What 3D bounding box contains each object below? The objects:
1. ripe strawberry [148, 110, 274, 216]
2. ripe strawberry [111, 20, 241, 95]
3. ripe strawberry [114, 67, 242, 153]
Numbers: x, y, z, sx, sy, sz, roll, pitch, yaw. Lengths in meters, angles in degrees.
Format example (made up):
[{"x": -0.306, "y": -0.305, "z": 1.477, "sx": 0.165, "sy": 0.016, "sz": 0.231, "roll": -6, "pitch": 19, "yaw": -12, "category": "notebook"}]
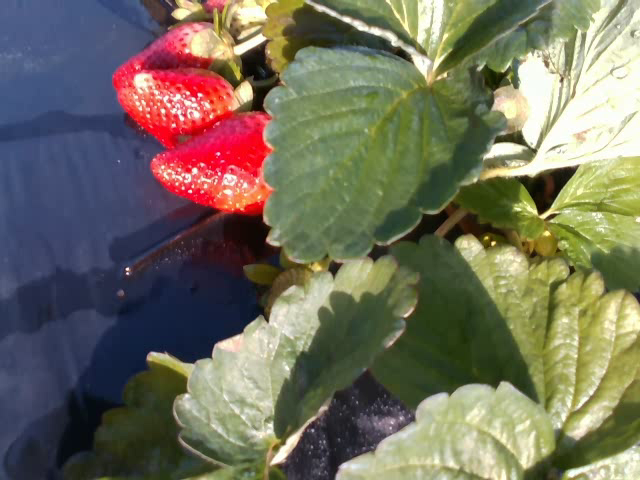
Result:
[{"x": -0.034, "y": -0.022, "z": 0.185, "sx": 0.041, "sy": 0.035, "sz": 0.034, "roll": -1, "pitch": -44, "yaw": -35, "category": "ripe strawberry"}, {"x": -0.053, "y": -0.064, "z": 0.219, "sx": 0.045, "sy": 0.032, "sz": 0.023, "roll": -22, "pitch": -34, "yaw": -4, "category": "ripe strawberry"}, {"x": -0.045, "y": -0.045, "z": 0.197, "sx": 0.039, "sy": 0.031, "sz": 0.036, "roll": 17, "pitch": -43, "yaw": -39, "category": "ripe strawberry"}]
